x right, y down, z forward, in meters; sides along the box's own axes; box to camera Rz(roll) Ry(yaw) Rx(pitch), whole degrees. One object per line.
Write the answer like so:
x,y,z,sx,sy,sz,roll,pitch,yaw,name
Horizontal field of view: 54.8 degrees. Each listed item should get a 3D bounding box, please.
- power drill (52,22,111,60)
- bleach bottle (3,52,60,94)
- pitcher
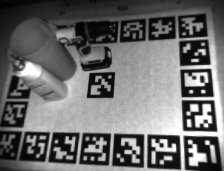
-0.083,-0.149,0.729,0.184,0.188,0.057,-5,74,6,power drill
-0.271,-0.040,0.704,0.102,0.253,0.067,-9,70,12,bleach bottle
-0.249,-0.131,0.750,0.188,0.245,0.132,-27,69,4,pitcher
